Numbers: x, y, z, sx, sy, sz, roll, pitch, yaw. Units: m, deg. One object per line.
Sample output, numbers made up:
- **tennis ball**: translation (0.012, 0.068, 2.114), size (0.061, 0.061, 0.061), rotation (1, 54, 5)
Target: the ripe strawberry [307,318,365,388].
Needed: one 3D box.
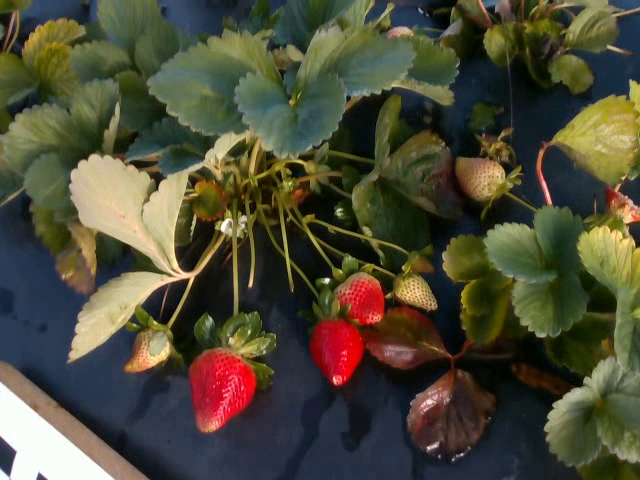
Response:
- **ripe strawberry**: translation (0.009, 0.081, 0.413), size (0.041, 0.044, 0.055), rotation (37, 27, -23)

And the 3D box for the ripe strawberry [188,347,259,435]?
- **ripe strawberry**: translation (-0.073, 0.103, 0.412), size (0.050, 0.050, 0.065), rotation (-15, 33, 29)
